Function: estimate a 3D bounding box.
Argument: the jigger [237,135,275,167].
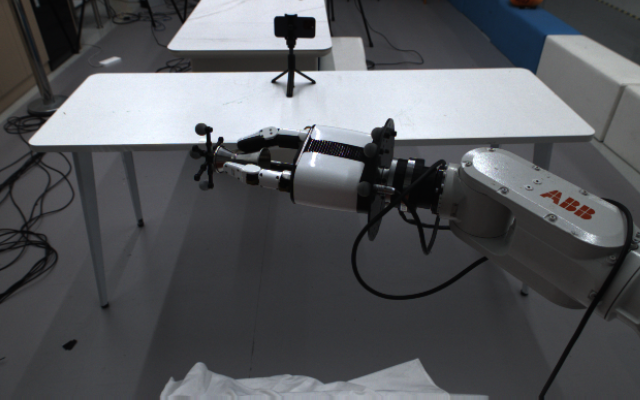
[{"bbox_3d":[-0.105,-0.057,0.672,0.071,0.043,0.043,6,34,15],"label":"jigger"}]
